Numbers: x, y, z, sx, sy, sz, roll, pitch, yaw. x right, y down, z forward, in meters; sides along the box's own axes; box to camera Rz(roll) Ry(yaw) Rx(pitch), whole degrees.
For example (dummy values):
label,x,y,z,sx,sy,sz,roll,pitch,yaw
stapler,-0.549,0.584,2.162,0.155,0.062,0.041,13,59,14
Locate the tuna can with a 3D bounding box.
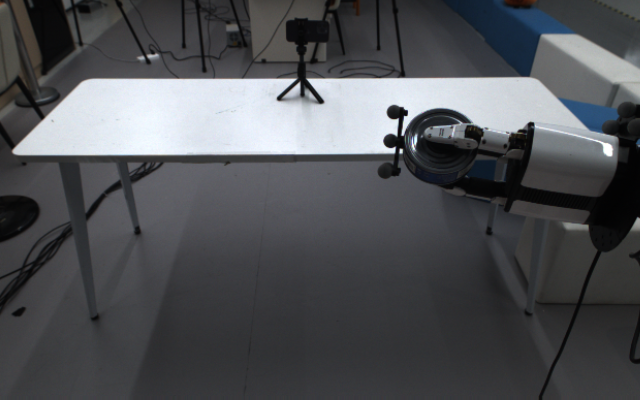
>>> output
label,x,y,z,sx,sy,sz,roll,pitch,yaw
tuna can,0.142,-0.066,0.565,0.085,0.034,0.085,-2,68,6
